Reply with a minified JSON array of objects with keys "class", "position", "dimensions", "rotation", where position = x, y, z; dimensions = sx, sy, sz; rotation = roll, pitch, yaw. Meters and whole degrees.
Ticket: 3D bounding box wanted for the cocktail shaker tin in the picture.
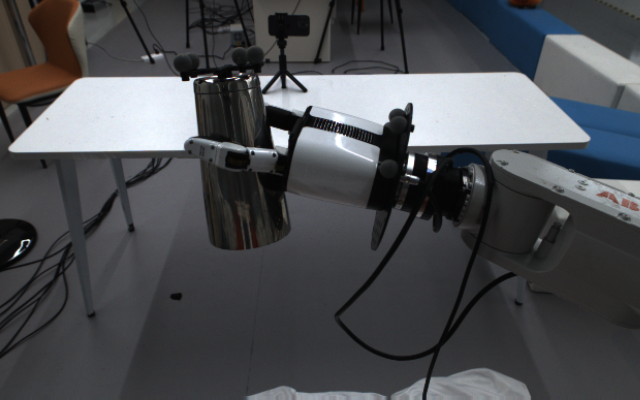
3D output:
[{"class":"cocktail shaker tin","position":[-0.085,-0.041,0.514],"dimensions":[0.093,0.170,0.093],"rotation":[-6,19,2]}]
